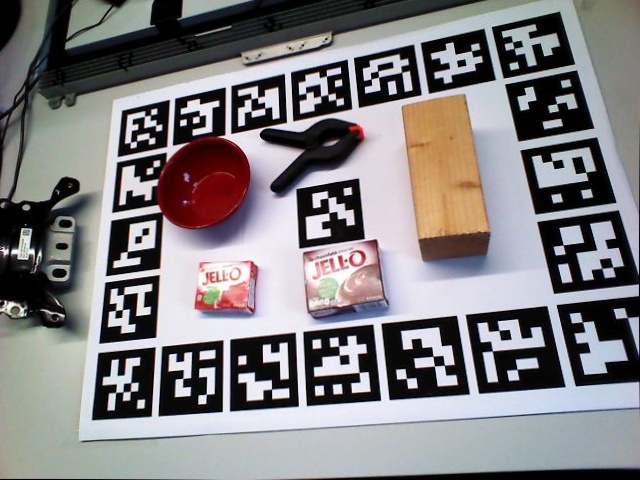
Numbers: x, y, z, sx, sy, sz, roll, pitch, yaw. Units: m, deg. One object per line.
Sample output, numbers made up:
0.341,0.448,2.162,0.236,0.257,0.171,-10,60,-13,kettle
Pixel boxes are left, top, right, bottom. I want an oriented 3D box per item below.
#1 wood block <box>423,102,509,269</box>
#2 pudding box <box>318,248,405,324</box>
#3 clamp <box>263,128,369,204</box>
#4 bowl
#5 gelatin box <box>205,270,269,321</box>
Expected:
0.197,-0.074,0.704,0.090,0.091,0.205,-6,69,13,wood block
0.056,0.066,0.723,0.114,0.038,0.089,-10,72,15,pudding box
-0.002,-0.133,0.823,0.166,0.036,0.121,-18,66,7,clamp
-0.158,-0.074,0.836,0.162,0.055,0.161,-5,72,14,bowl
-0.124,0.082,0.773,0.090,0.030,0.073,-1,72,16,gelatin box
